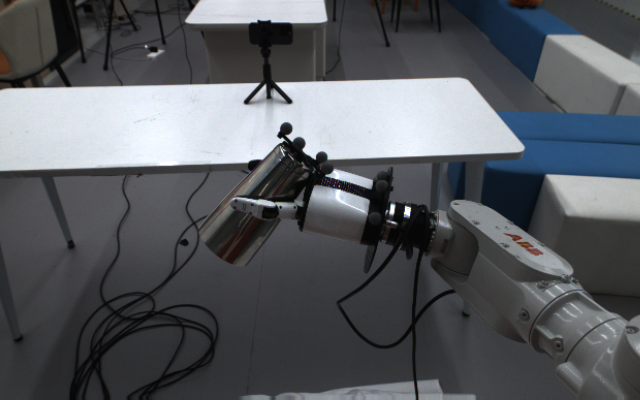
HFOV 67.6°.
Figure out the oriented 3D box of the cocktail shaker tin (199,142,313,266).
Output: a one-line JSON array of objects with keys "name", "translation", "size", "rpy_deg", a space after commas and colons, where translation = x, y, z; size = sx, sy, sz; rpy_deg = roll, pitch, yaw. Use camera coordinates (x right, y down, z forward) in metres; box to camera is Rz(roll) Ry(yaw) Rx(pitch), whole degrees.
[{"name": "cocktail shaker tin", "translation": [-0.087, 0.002, 0.697], "size": [0.093, 0.170, 0.093], "rpy_deg": [41, 13, -11]}]
